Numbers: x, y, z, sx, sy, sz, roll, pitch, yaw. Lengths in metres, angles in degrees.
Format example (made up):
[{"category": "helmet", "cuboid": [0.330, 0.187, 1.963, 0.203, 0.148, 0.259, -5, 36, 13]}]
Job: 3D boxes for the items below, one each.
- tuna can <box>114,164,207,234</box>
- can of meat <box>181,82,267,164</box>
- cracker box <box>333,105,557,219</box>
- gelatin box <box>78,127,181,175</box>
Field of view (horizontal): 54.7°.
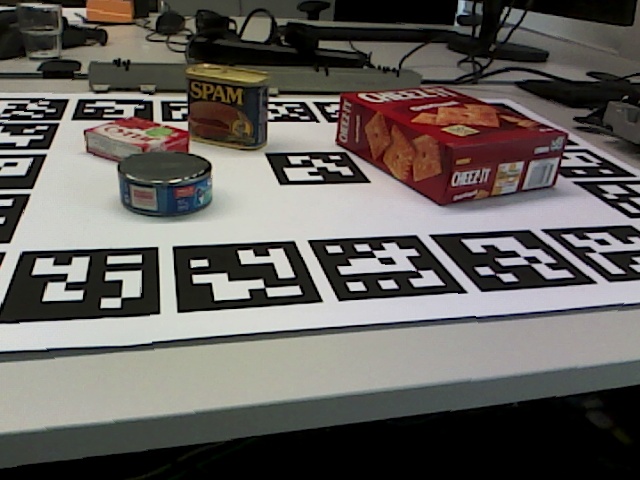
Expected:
[{"category": "tuna can", "cuboid": [-0.151, -0.041, 0.592, 0.086, 0.033, 0.086, 3, 31, -2]}, {"category": "can of meat", "cuboid": [-0.119, -0.144, 0.767, 0.102, 0.083, 0.058, 11, 27, 14]}, {"category": "cracker box", "cuboid": [0.141, -0.102, 0.735, 0.163, 0.072, 0.215, -10, 29, -29]}, {"category": "gelatin box", "cuboid": [-0.218, -0.101, 0.709, 0.090, 0.030, 0.073, 20, 28, 22]}]
